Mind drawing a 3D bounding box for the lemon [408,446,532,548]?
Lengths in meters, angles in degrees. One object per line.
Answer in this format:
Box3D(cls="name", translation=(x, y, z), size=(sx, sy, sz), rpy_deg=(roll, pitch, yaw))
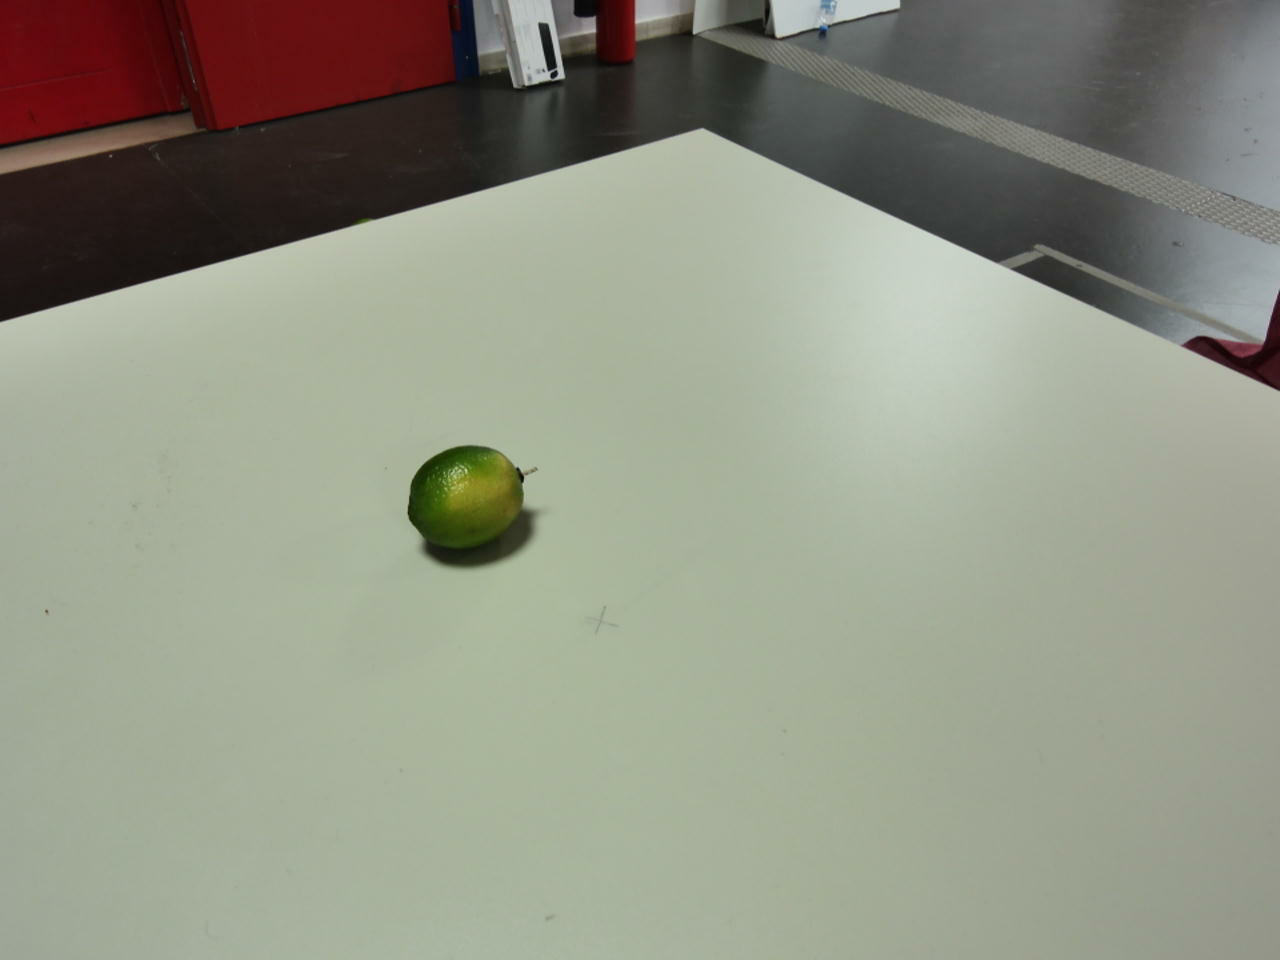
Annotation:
Box3D(cls="lemon", translation=(-0.087, 0.008, 0.502), size=(0.055, 0.050, 0.054), rpy_deg=(8, 38, 9))
